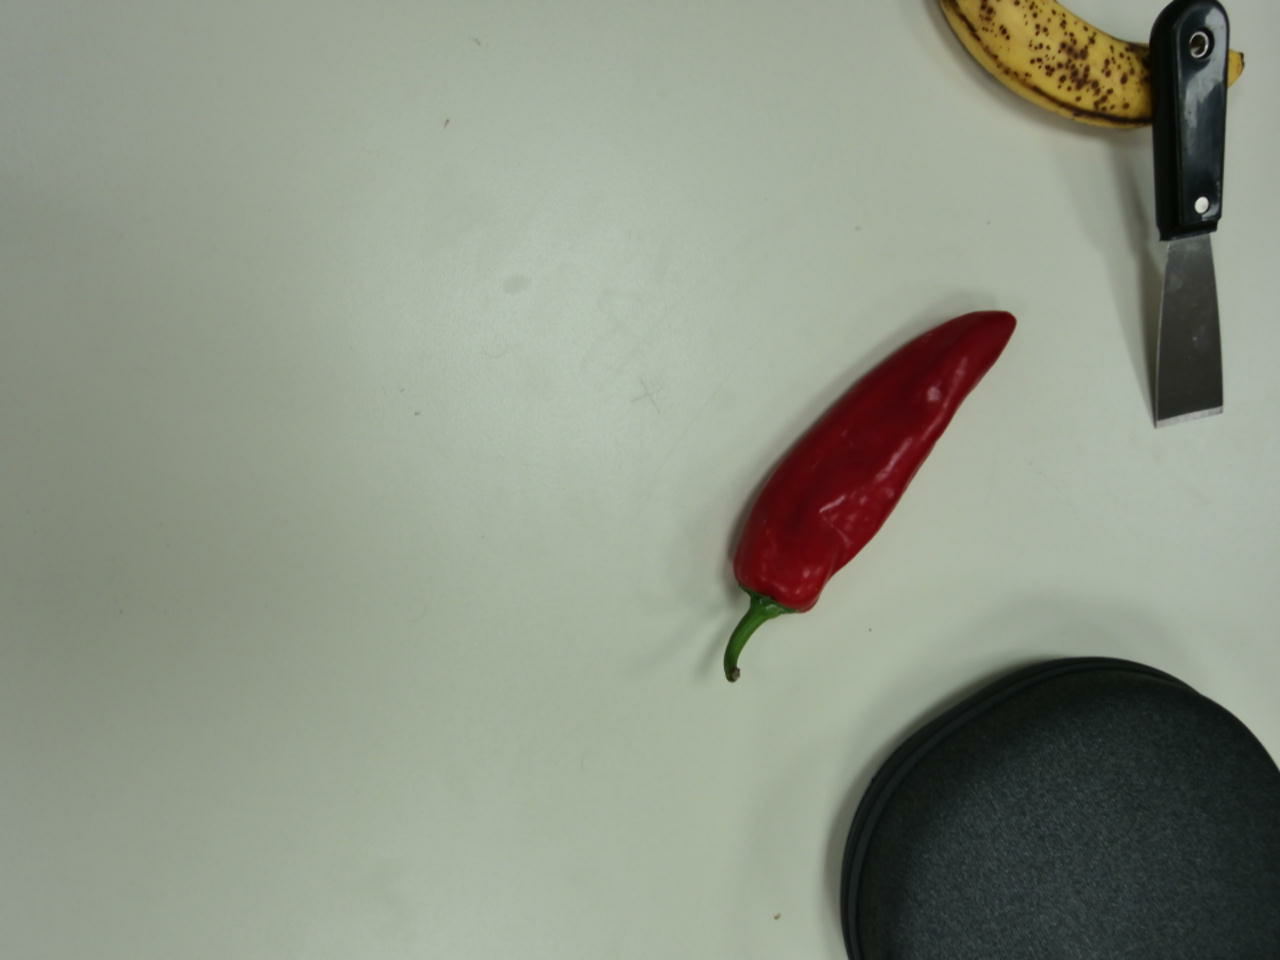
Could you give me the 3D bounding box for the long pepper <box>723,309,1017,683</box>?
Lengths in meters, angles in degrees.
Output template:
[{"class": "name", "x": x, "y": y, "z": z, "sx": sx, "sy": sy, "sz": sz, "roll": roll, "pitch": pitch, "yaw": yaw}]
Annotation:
[{"class": "long pepper", "x": 0.094, "y": -0.003, "z": 0.441, "sx": 0.050, "sy": 0.043, "sz": 0.211, "roll": 42, "pitch": 82, "yaw": -9}]
